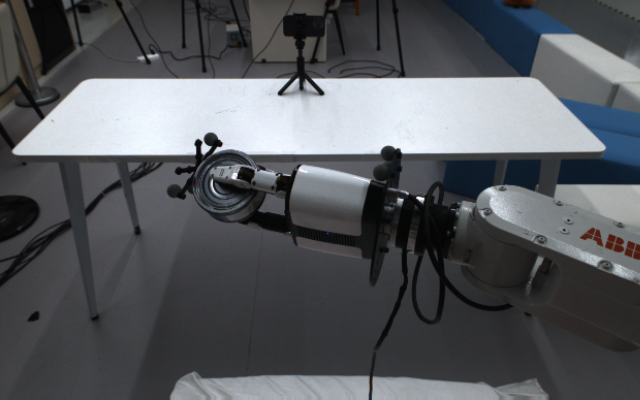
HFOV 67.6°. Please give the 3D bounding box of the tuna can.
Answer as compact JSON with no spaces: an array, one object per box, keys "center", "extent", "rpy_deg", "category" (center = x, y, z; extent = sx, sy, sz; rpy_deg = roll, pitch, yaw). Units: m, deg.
[{"center":[-0.107,-0.014,0.589],"extent":[0.085,0.034,0.085],"rpy_deg":[-2,72,6],"category":"tuna can"}]
